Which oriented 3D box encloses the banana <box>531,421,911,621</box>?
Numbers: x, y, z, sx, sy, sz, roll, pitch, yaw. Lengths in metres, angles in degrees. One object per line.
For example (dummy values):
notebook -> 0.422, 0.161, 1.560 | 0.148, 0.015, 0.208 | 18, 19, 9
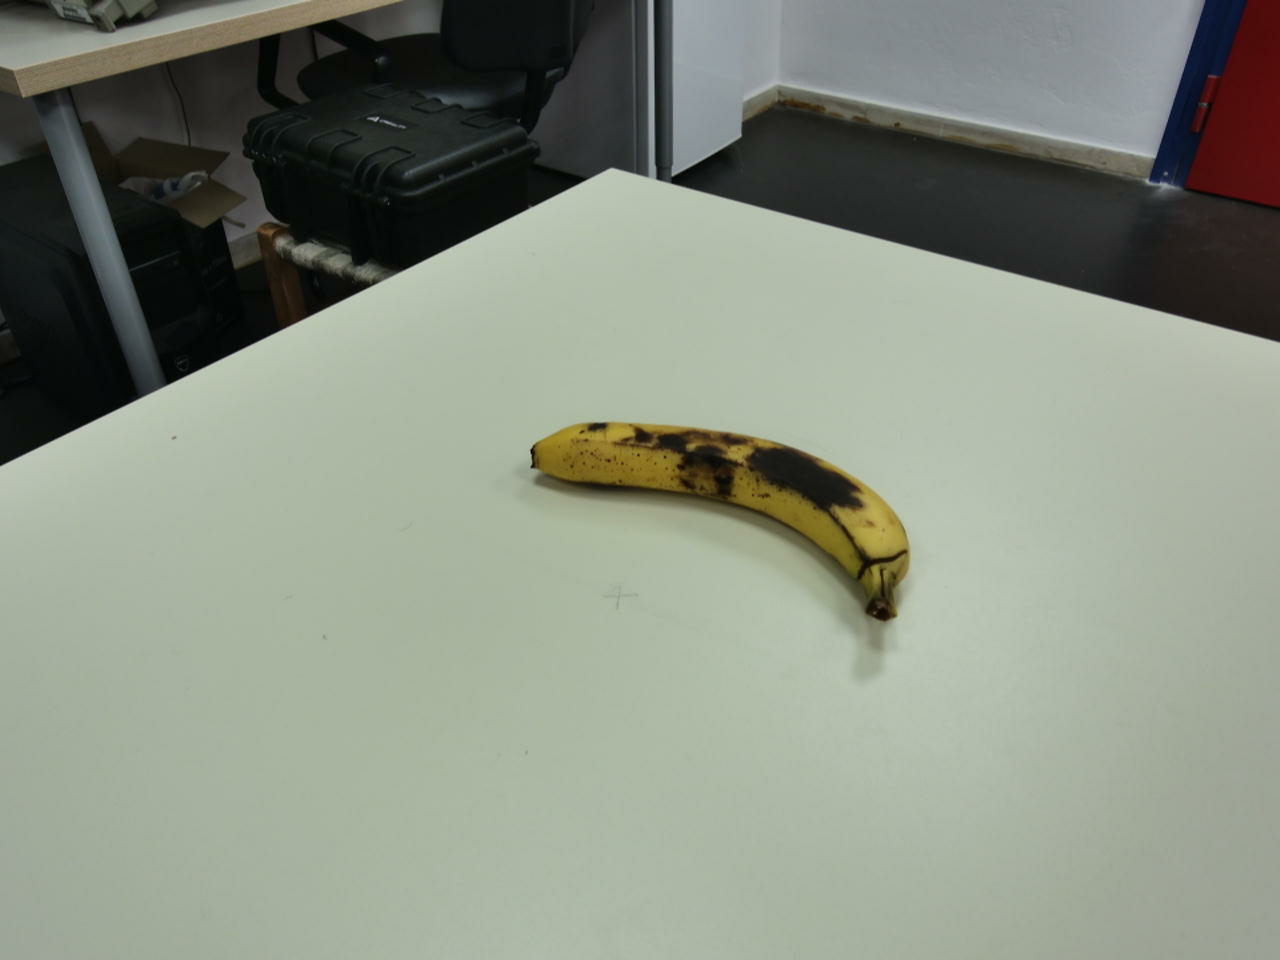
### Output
banana -> 0.048, 0.004, 0.525 | 0.222, 0.037, 0.084 | 25, 44, 30
